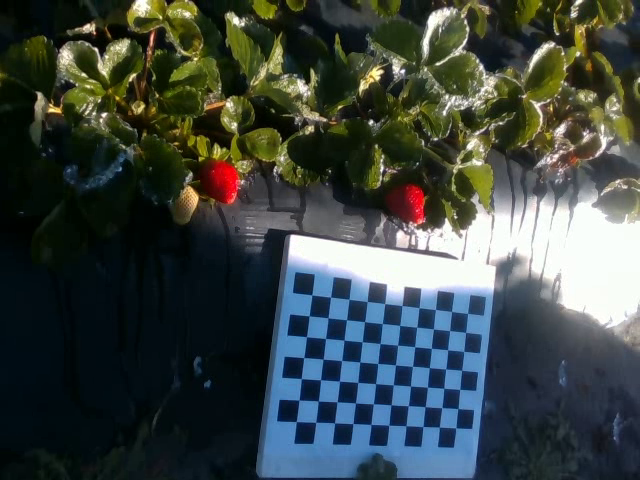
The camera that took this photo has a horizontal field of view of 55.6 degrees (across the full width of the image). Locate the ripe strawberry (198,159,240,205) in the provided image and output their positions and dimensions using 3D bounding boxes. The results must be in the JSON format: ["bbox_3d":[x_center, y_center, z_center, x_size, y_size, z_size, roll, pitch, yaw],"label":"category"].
[{"bbox_3d":[-0.103,-0.055,0.634,0.042,0.061,0.046,-8,-39,-22],"label":"ripe strawberry"}]

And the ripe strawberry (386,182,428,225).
[{"bbox_3d":[0.110,-0.041,0.716,0.048,0.061,0.044,0,-33,-23],"label":"ripe strawberry"}]
